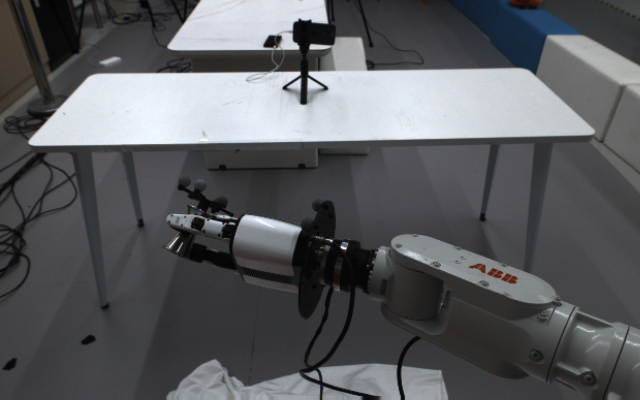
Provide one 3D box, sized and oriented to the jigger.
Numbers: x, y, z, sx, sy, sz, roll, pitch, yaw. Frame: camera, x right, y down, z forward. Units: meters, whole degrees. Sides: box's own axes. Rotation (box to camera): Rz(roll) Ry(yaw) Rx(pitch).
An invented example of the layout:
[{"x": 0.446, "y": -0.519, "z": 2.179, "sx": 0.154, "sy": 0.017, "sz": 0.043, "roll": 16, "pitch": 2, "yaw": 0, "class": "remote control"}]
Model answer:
[{"x": -0.186, "y": 0.043, "z": 0.678, "sx": 0.043, "sy": 0.043, "sz": 0.071, "roll": 20, "pitch": 74, "yaw": 24, "class": "jigger"}]
